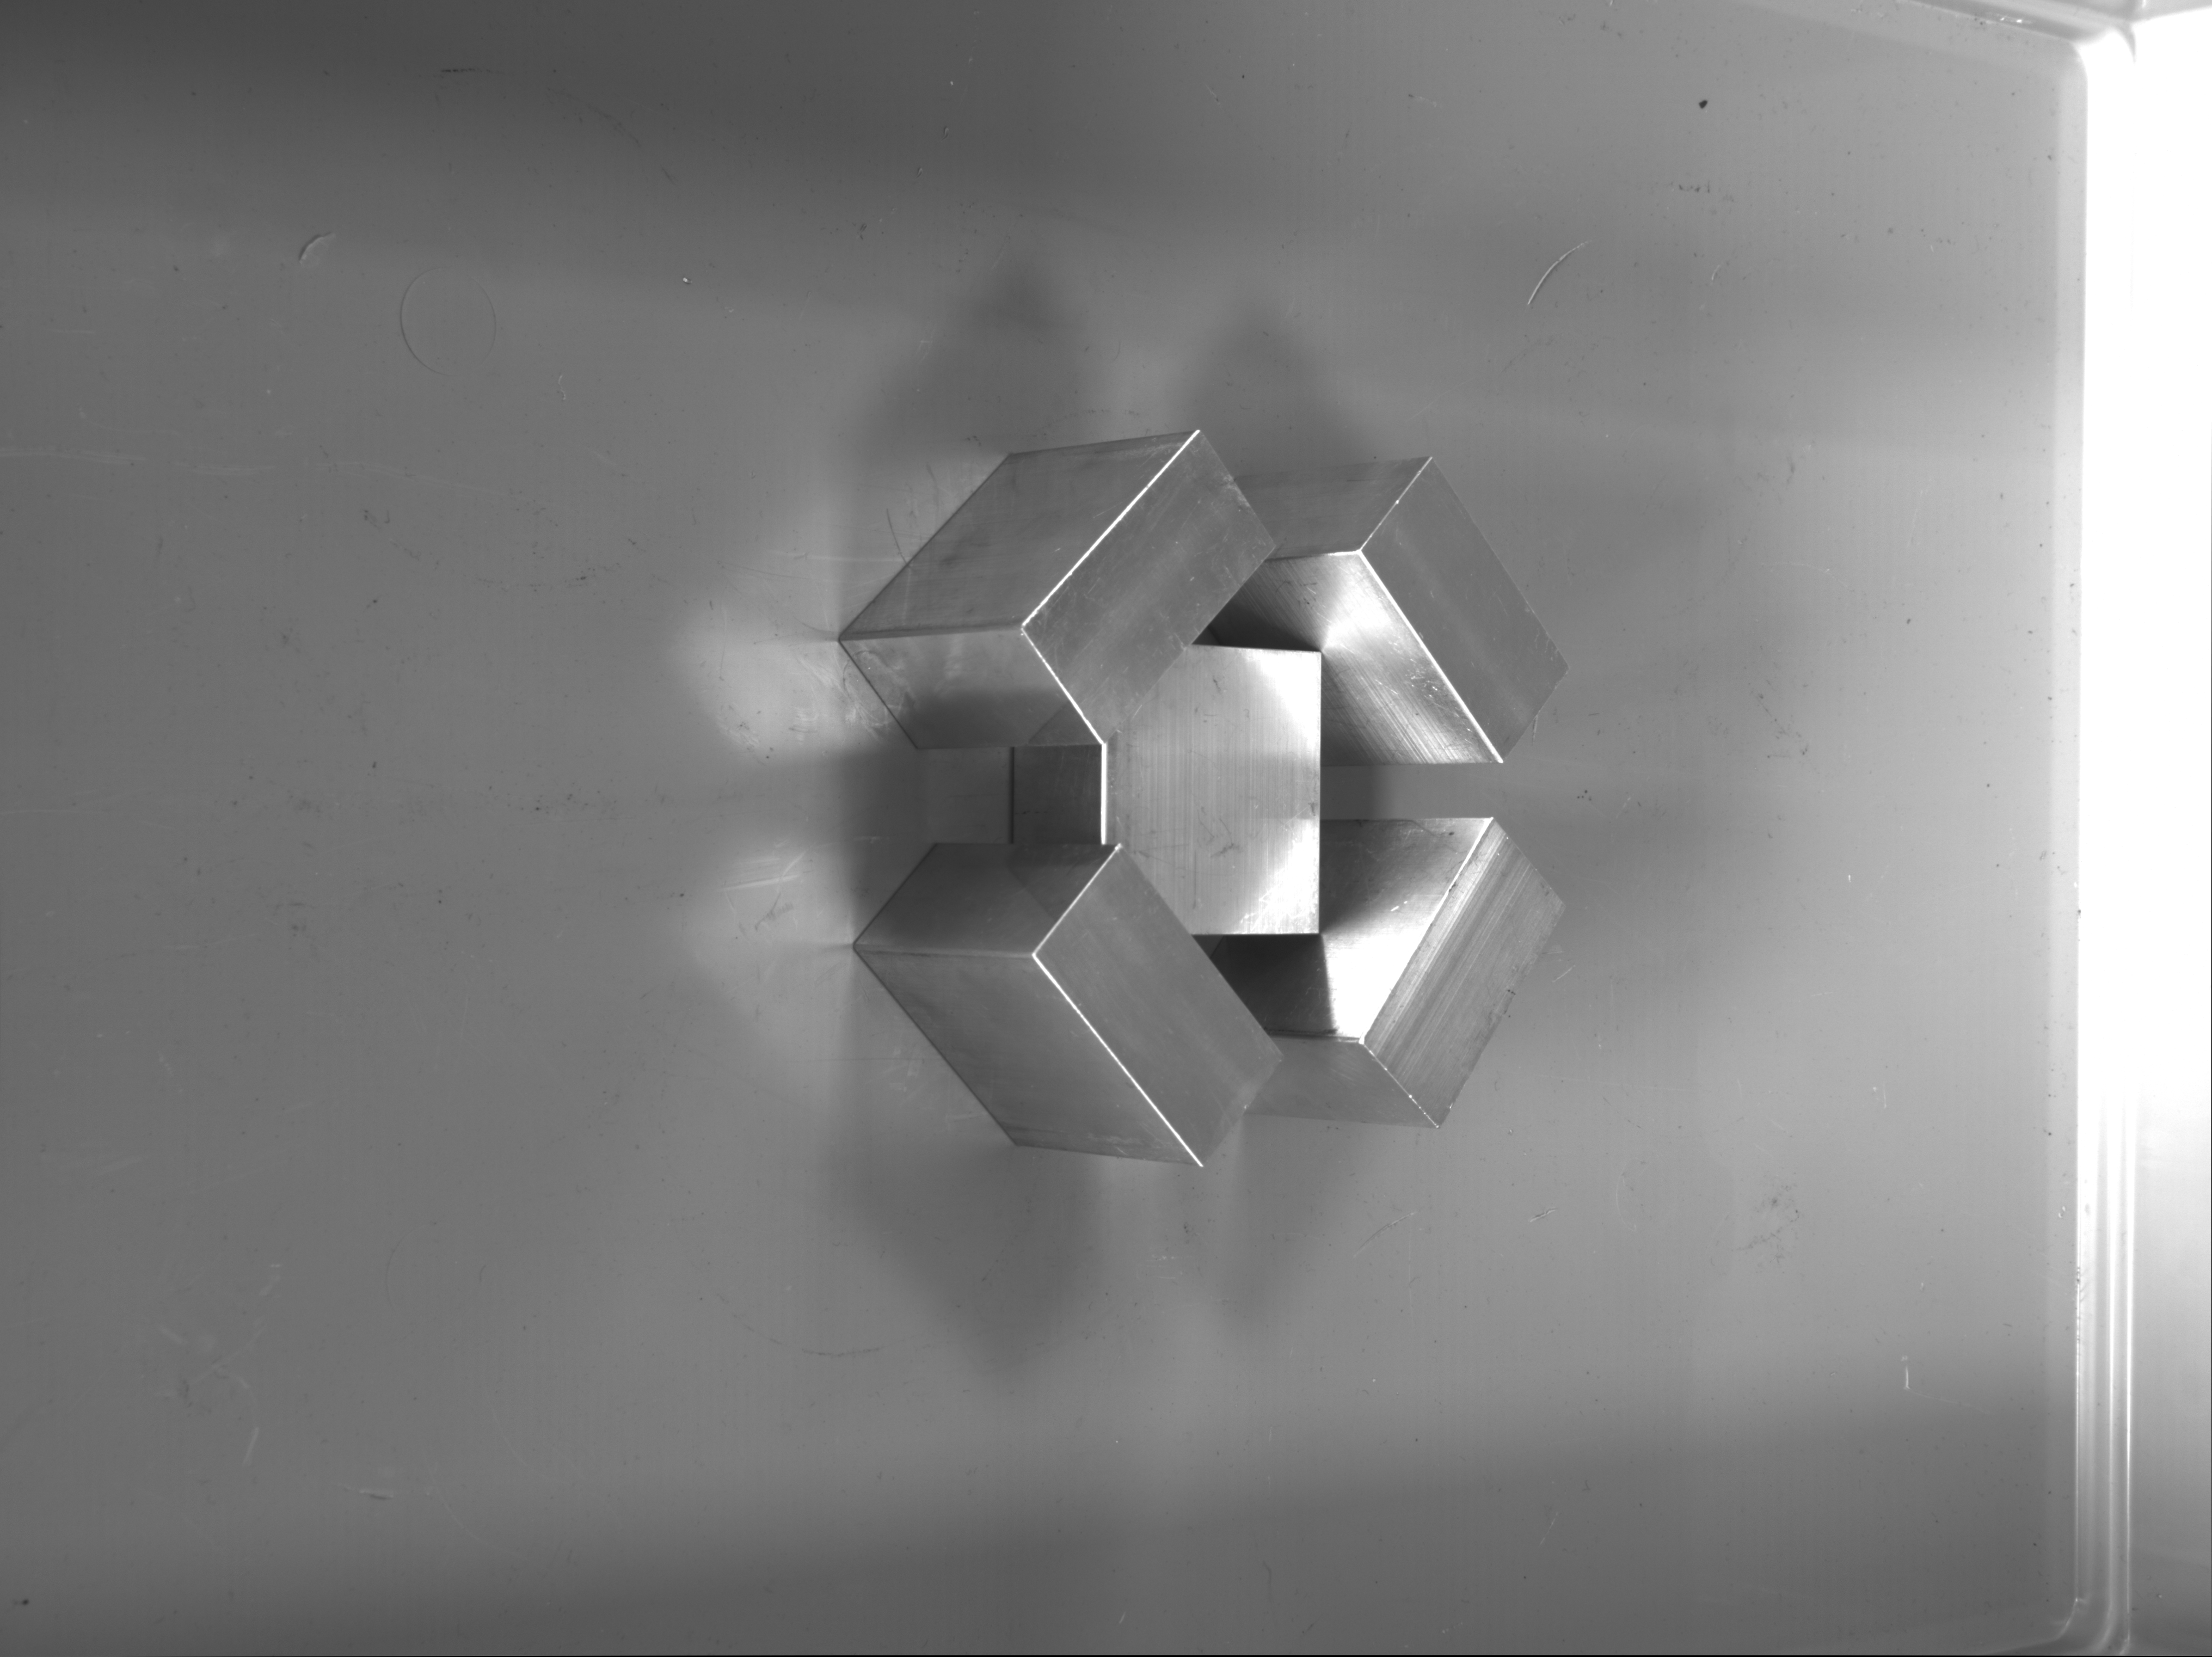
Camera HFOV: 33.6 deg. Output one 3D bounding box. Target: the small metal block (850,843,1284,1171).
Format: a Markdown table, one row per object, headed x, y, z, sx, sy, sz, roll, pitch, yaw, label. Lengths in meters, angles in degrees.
| x | y | z | sx | sy | sz | roll | pitch | yaw | label |
| --- | --- | --- | --- | --- | --- | --- | --- | --- | --- |
| -0.007 | 0.029 | 0.612 | 0.025 | 0.050 | 0.050 | -52 | 120 | -26 | small metal block |

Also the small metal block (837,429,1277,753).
| x | y | z | sx | sy | sz | roll | pitch | yaw | label |
| --- | --- | --- | --- | --- | --- | --- | --- | --- | --- |
| -0.008 | -0.039 | 0.610 | 0.050 | 0.050 | 0.025 | -49 | 118 | -28 | small metal block |

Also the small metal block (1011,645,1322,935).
| x | y | z | sx | sy | sz | roll | pitch | yaw | label |
| --- | --- | --- | --- | --- | --- | --- | --- | --- | --- |
| 0.011 | -0.007 | 0.642 | 0.050 | 0.025 | 0.050 | 1 | 89 | -40 | small metal block |

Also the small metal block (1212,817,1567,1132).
| x | y | z | sx | sy | sz | roll | pitch | yaw | label |
| --- | --- | --- | --- | --- | --- | --- | --- | --- | --- |
| 0.046 | 0.025 | 0.655 | 0.025 | 0.050 | 0.050 | 48 | 61 | -30 | small metal block |

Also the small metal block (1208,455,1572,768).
| x | y | z | sx | sy | sz | roll | pitch | yaw | label |
| --- | --- | --- | --- | --- | --- | --- | --- | --- | --- |
| 0.047 | -0.038 | 0.656 | 0.025 | 0.050 | 0.050 | -53 | 121 | -28 | small metal block |
